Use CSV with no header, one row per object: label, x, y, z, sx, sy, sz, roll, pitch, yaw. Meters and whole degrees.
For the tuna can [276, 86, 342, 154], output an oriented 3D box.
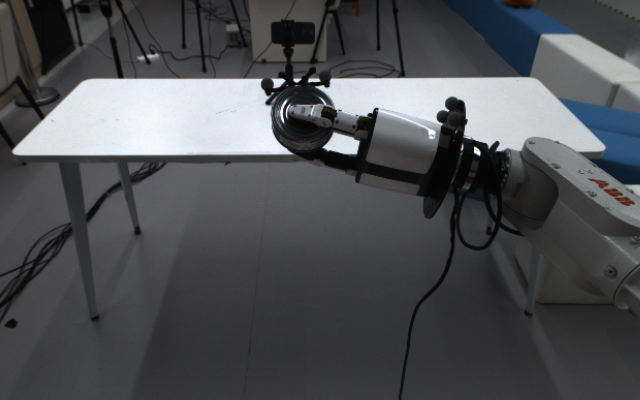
tuna can,-0.018,-0.103,0.639,0.085,0.034,0.085,0,72,-1
